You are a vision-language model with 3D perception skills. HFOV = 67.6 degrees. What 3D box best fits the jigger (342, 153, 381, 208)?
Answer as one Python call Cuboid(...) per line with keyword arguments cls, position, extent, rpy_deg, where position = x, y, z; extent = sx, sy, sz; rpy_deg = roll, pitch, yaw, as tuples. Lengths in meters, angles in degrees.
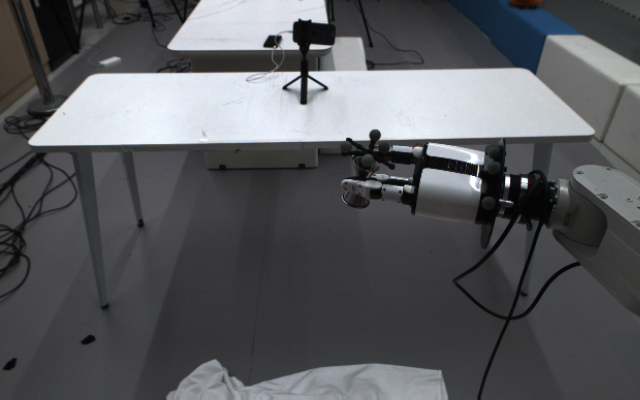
Cuboid(cls="jigger", position=(0.060, -0.028, 0.727), extent=(0.043, 0.071, 0.043), rpy_deg=(10, 36, -7))
